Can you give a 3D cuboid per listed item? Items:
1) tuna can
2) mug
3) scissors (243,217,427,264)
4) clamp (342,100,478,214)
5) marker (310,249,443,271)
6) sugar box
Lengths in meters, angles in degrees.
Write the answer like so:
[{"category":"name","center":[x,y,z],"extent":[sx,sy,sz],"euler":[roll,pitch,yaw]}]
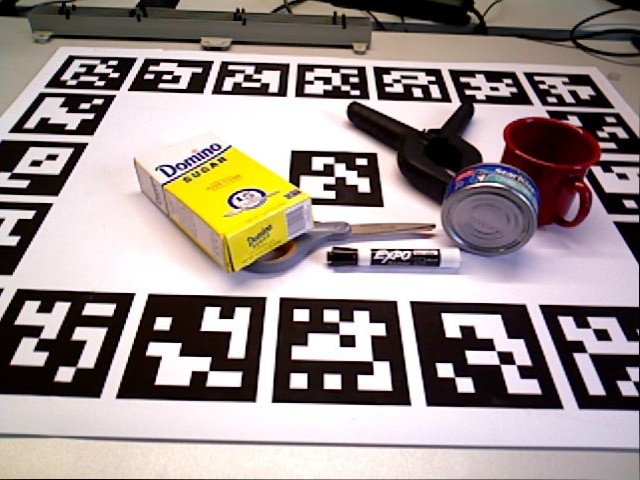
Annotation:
[{"category":"tuna can","center":[0.154,-0.024,0.498],"extent":[0.086,0.088,0.033],"euler":[15,45,11]},{"category":"mug","center":[0.214,-0.054,0.539],"extent":[0.092,0.083,0.116],"euler":[-17,45,-21]},{"category":"scissors","center":[0.006,-0.014,0.523],"extent":[0.201,0.016,0.086],"euler":[-4,41,-10]},{"category":"clamp","center":[0.123,-0.100,0.623],"extent":[0.164,0.037,0.200],"euler":[-5,46,-9]},{"category":"marker","center":[0.051,0.018,0.496],"extent":[0.120,0.020,0.019],"euler":[0,45,-3]},{"category":"sugar box","center":[-0.099,-0.047,0.527],"extent":[0.091,0.046,0.176],"euler":[-25,45,-27]}]
